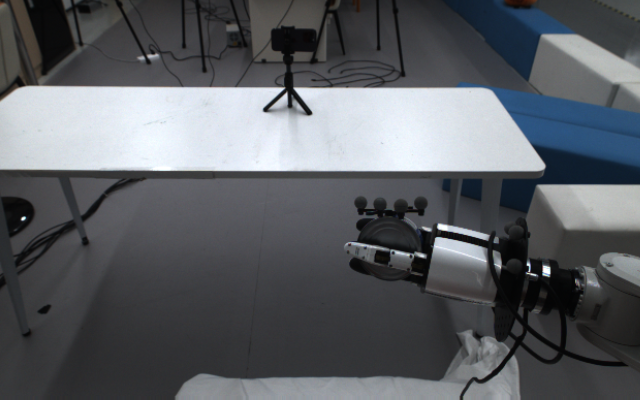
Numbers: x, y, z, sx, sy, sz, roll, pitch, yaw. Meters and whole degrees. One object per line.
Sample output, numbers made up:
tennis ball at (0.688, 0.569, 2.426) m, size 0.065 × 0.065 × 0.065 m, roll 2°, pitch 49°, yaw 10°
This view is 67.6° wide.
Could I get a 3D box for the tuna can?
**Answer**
tuna can at (0.095, 0.061, 0.642) m, size 0.085 × 0.085 × 0.034 m, roll 15°, pitch 10°, yaw 18°
